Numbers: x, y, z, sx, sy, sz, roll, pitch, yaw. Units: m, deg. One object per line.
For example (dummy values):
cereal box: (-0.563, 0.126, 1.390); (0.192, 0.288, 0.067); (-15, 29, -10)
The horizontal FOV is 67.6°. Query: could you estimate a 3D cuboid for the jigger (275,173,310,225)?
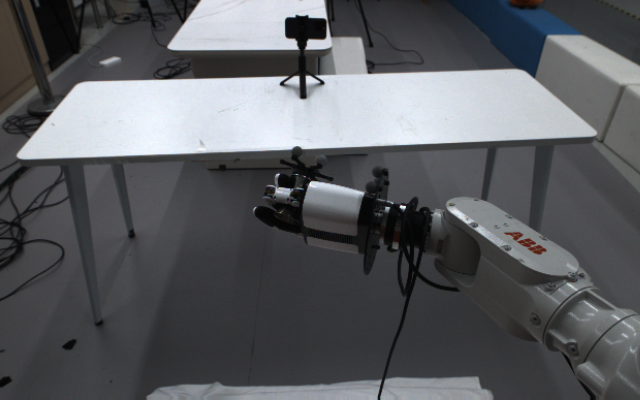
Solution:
jigger: (-0.038, -0.003, 0.741); (0.043, 0.043, 0.071); (15, 71, 18)
